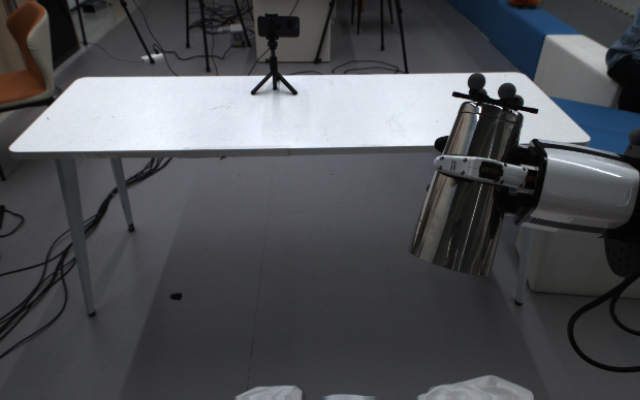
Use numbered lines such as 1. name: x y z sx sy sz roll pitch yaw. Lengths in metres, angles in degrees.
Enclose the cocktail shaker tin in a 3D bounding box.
1. cocktail shaker tin: 0.165 -0.014 0.525 0.093 0.170 0.093 14 6 -1
